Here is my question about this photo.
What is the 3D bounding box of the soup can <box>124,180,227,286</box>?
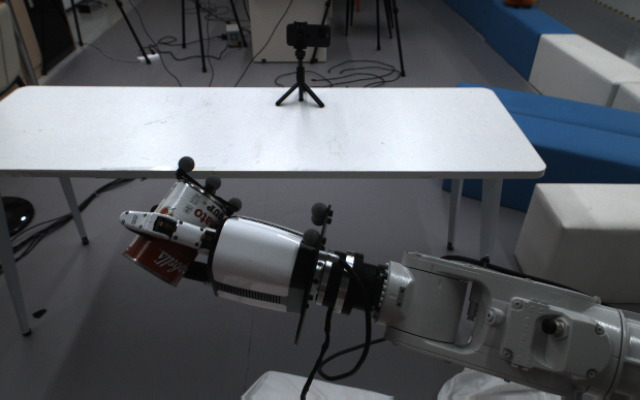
[{"bbox_3d":[-0.157,0.038,0.535,0.067,0.067,0.101,23,71,27],"label":"soup can"}]
